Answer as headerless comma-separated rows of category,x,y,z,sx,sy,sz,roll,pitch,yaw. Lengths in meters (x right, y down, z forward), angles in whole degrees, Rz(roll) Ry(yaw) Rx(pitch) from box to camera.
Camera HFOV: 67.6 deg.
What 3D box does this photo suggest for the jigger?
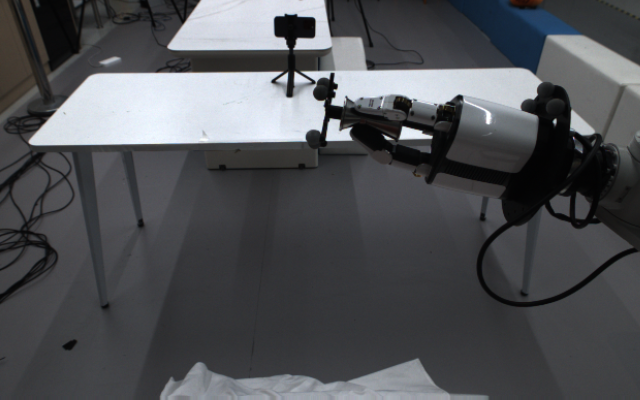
jigger,0.066,-0.096,0.555,0.071,0.043,0.043,10,35,2
